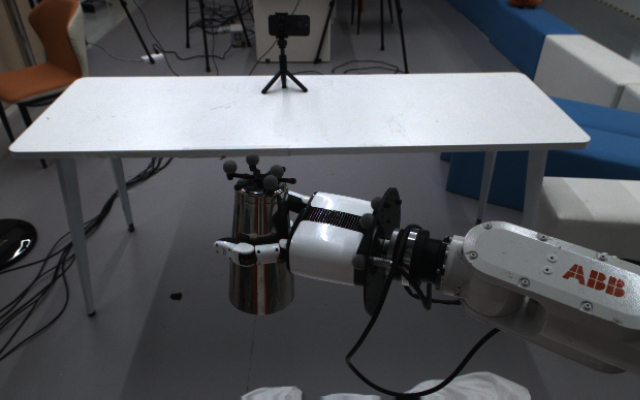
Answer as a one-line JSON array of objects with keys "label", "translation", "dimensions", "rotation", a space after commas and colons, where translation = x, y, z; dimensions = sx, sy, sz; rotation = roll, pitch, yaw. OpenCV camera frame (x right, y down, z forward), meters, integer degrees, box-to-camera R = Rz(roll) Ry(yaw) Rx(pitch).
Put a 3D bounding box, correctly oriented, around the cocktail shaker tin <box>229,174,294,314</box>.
[{"label": "cocktail shaker tin", "translation": [-0.077, 0.056, 0.645], "dimensions": [0.093, 0.170, 0.093], "rotation": [2, 26, -1]}]
